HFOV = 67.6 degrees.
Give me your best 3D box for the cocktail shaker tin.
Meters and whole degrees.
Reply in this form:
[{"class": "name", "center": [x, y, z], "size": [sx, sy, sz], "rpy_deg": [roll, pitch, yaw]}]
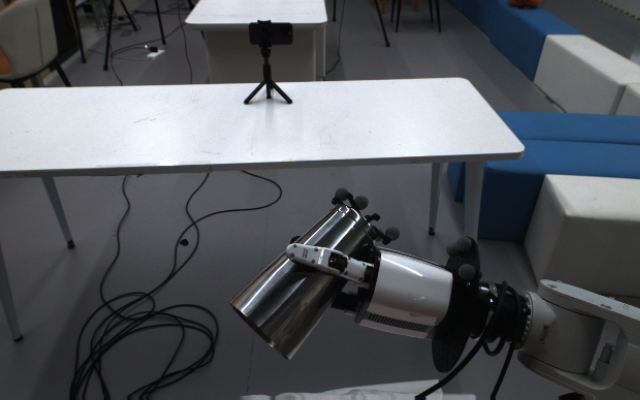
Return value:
[{"class": "cocktail shaker tin", "center": [-0.010, 0.082, 0.557], "size": [0.093, 0.093, 0.170], "rpy_deg": [32, 67, 35]}]
